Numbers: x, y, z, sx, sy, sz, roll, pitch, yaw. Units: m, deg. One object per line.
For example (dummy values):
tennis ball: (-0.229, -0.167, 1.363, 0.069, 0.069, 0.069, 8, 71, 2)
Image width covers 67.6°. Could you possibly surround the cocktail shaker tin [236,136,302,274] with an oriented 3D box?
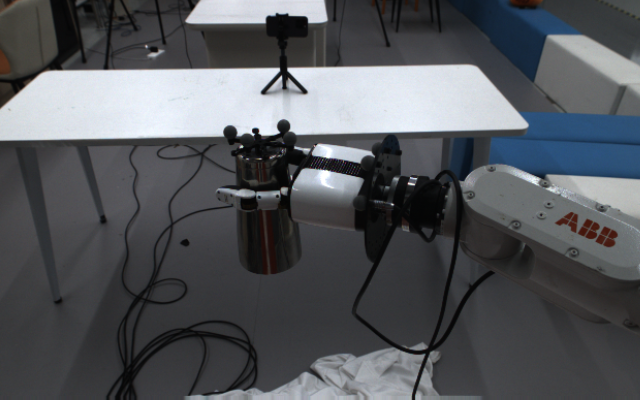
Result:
cocktail shaker tin: (-0.070, 0.004, 0.664, 0.093, 0.170, 0.093, -1, 32, 1)
